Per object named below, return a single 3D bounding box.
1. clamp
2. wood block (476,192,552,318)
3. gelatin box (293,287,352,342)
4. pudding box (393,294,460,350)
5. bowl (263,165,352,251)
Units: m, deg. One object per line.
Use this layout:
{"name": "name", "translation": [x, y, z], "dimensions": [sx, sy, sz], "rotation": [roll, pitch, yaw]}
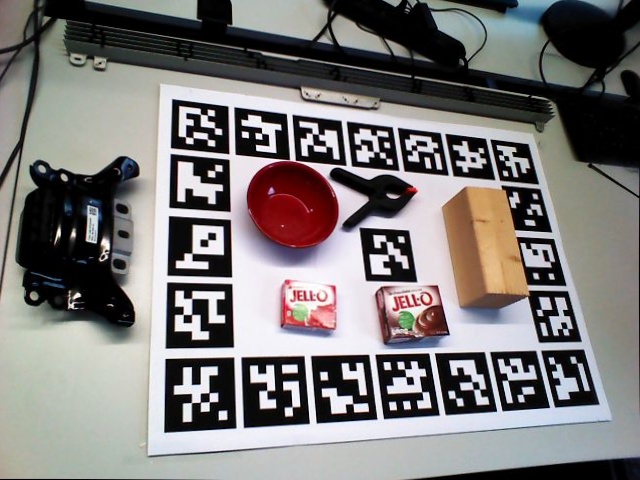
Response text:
{"name": "clamp", "translation": [0.118, -0.070, 0.943], "dimensions": [0.164, 0.037, 0.121], "rotation": [-7, 71, -23]}
{"name": "wood block", "translation": [0.335, 0.028, 0.934], "dimensions": [0.090, 0.091, 0.205], "rotation": [6, 67, -17]}
{"name": "gelatin box", "translation": [0.004, 0.118, 0.822], "dimensions": [0.089, 0.030, 0.073], "rotation": [10, 67, -14]}
{"name": "pudding box", "translation": [0.183, 0.138, 0.870], "dimensions": [0.114, 0.039, 0.089], "rotation": [1, 72, -15]}
{"name": "bowl", "translation": [-0.030, -0.043, 0.872], "dimensions": [0.161, 0.055, 0.161], "rotation": [6, 70, -17]}
